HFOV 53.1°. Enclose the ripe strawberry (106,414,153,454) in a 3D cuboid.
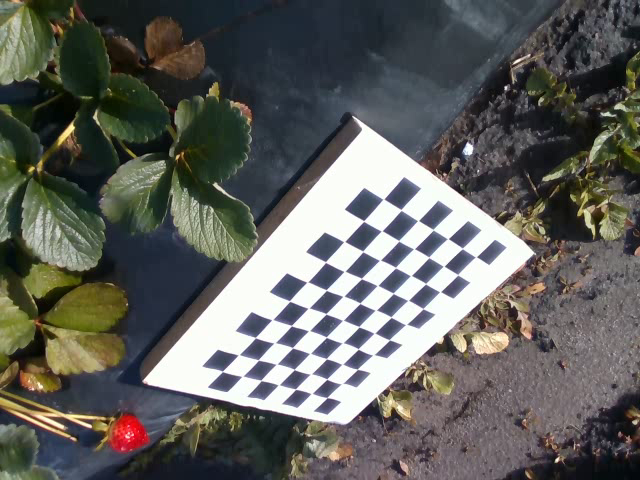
[{"bbox_3d":[-0.170,0.174,0.566,0.044,0.040,0.037,14,34,-21],"label":"ripe strawberry"}]
